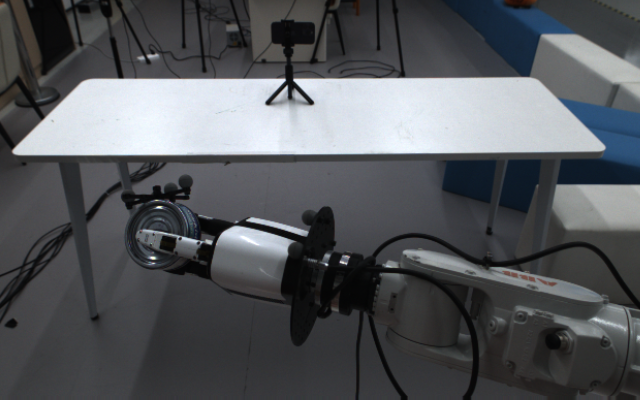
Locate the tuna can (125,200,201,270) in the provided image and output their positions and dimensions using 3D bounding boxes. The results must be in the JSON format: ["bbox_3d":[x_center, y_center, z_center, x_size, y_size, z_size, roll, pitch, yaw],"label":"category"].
[{"bbox_3d":[-0.187,0.048,0.584,0.085,0.085,0.034,12,-6,14],"label":"tuna can"}]
